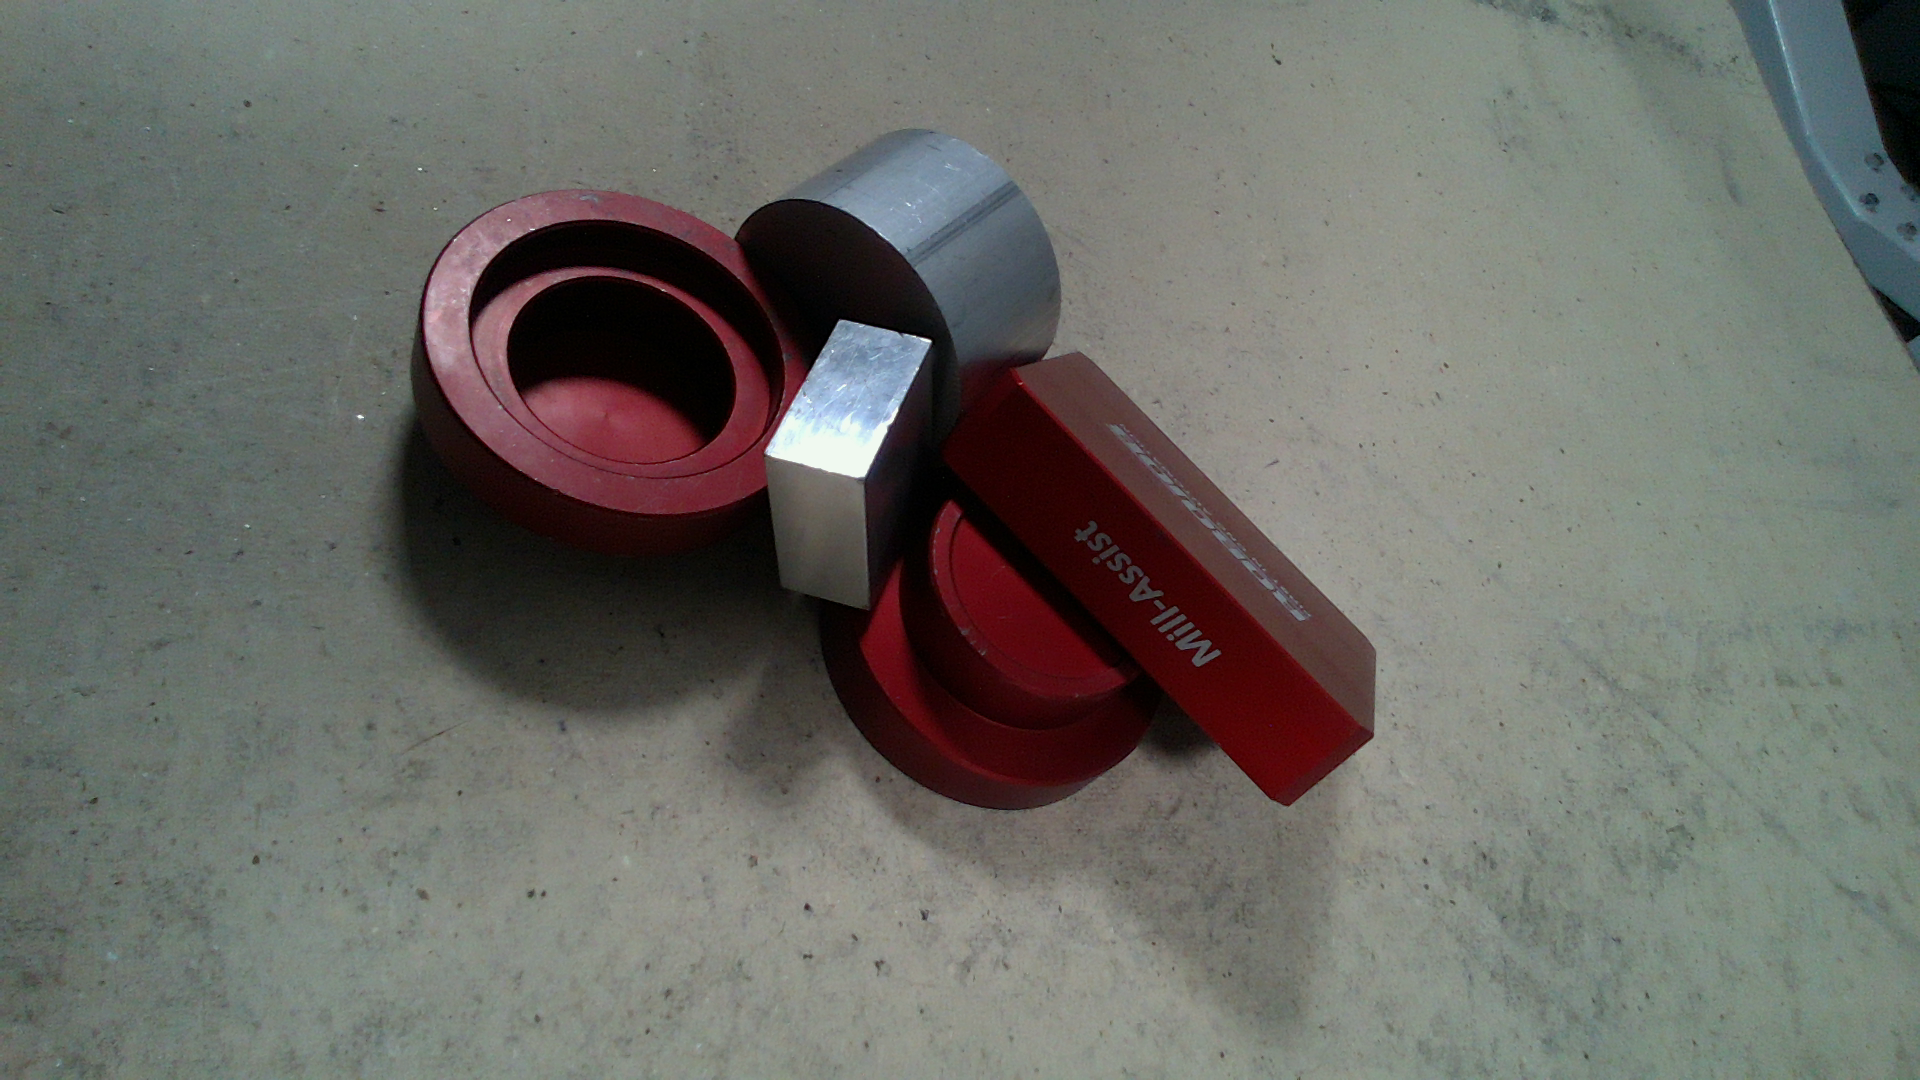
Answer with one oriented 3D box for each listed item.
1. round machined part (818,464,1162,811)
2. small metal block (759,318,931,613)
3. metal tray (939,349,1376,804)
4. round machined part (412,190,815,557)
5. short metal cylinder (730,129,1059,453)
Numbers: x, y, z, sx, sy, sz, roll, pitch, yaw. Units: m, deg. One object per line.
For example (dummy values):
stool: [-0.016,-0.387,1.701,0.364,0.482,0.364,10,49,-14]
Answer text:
round machined part: [0.014,0.020,0.374,0.098,0.042,0.098,14,56,-21]
small metal block: [-0.027,-0.019,0.348,0.025,0.050,0.050,14,51,10]
metal tray: [0.060,0.004,0.388,0.130,0.030,0.090,46,19,4]
round machined part: [-0.089,-0.039,0.355,0.098,0.042,0.098,14,56,-21]
short metal cylinder: [-0.019,-0.068,0.386,0.080,0.080,0.050,44,51,3]
